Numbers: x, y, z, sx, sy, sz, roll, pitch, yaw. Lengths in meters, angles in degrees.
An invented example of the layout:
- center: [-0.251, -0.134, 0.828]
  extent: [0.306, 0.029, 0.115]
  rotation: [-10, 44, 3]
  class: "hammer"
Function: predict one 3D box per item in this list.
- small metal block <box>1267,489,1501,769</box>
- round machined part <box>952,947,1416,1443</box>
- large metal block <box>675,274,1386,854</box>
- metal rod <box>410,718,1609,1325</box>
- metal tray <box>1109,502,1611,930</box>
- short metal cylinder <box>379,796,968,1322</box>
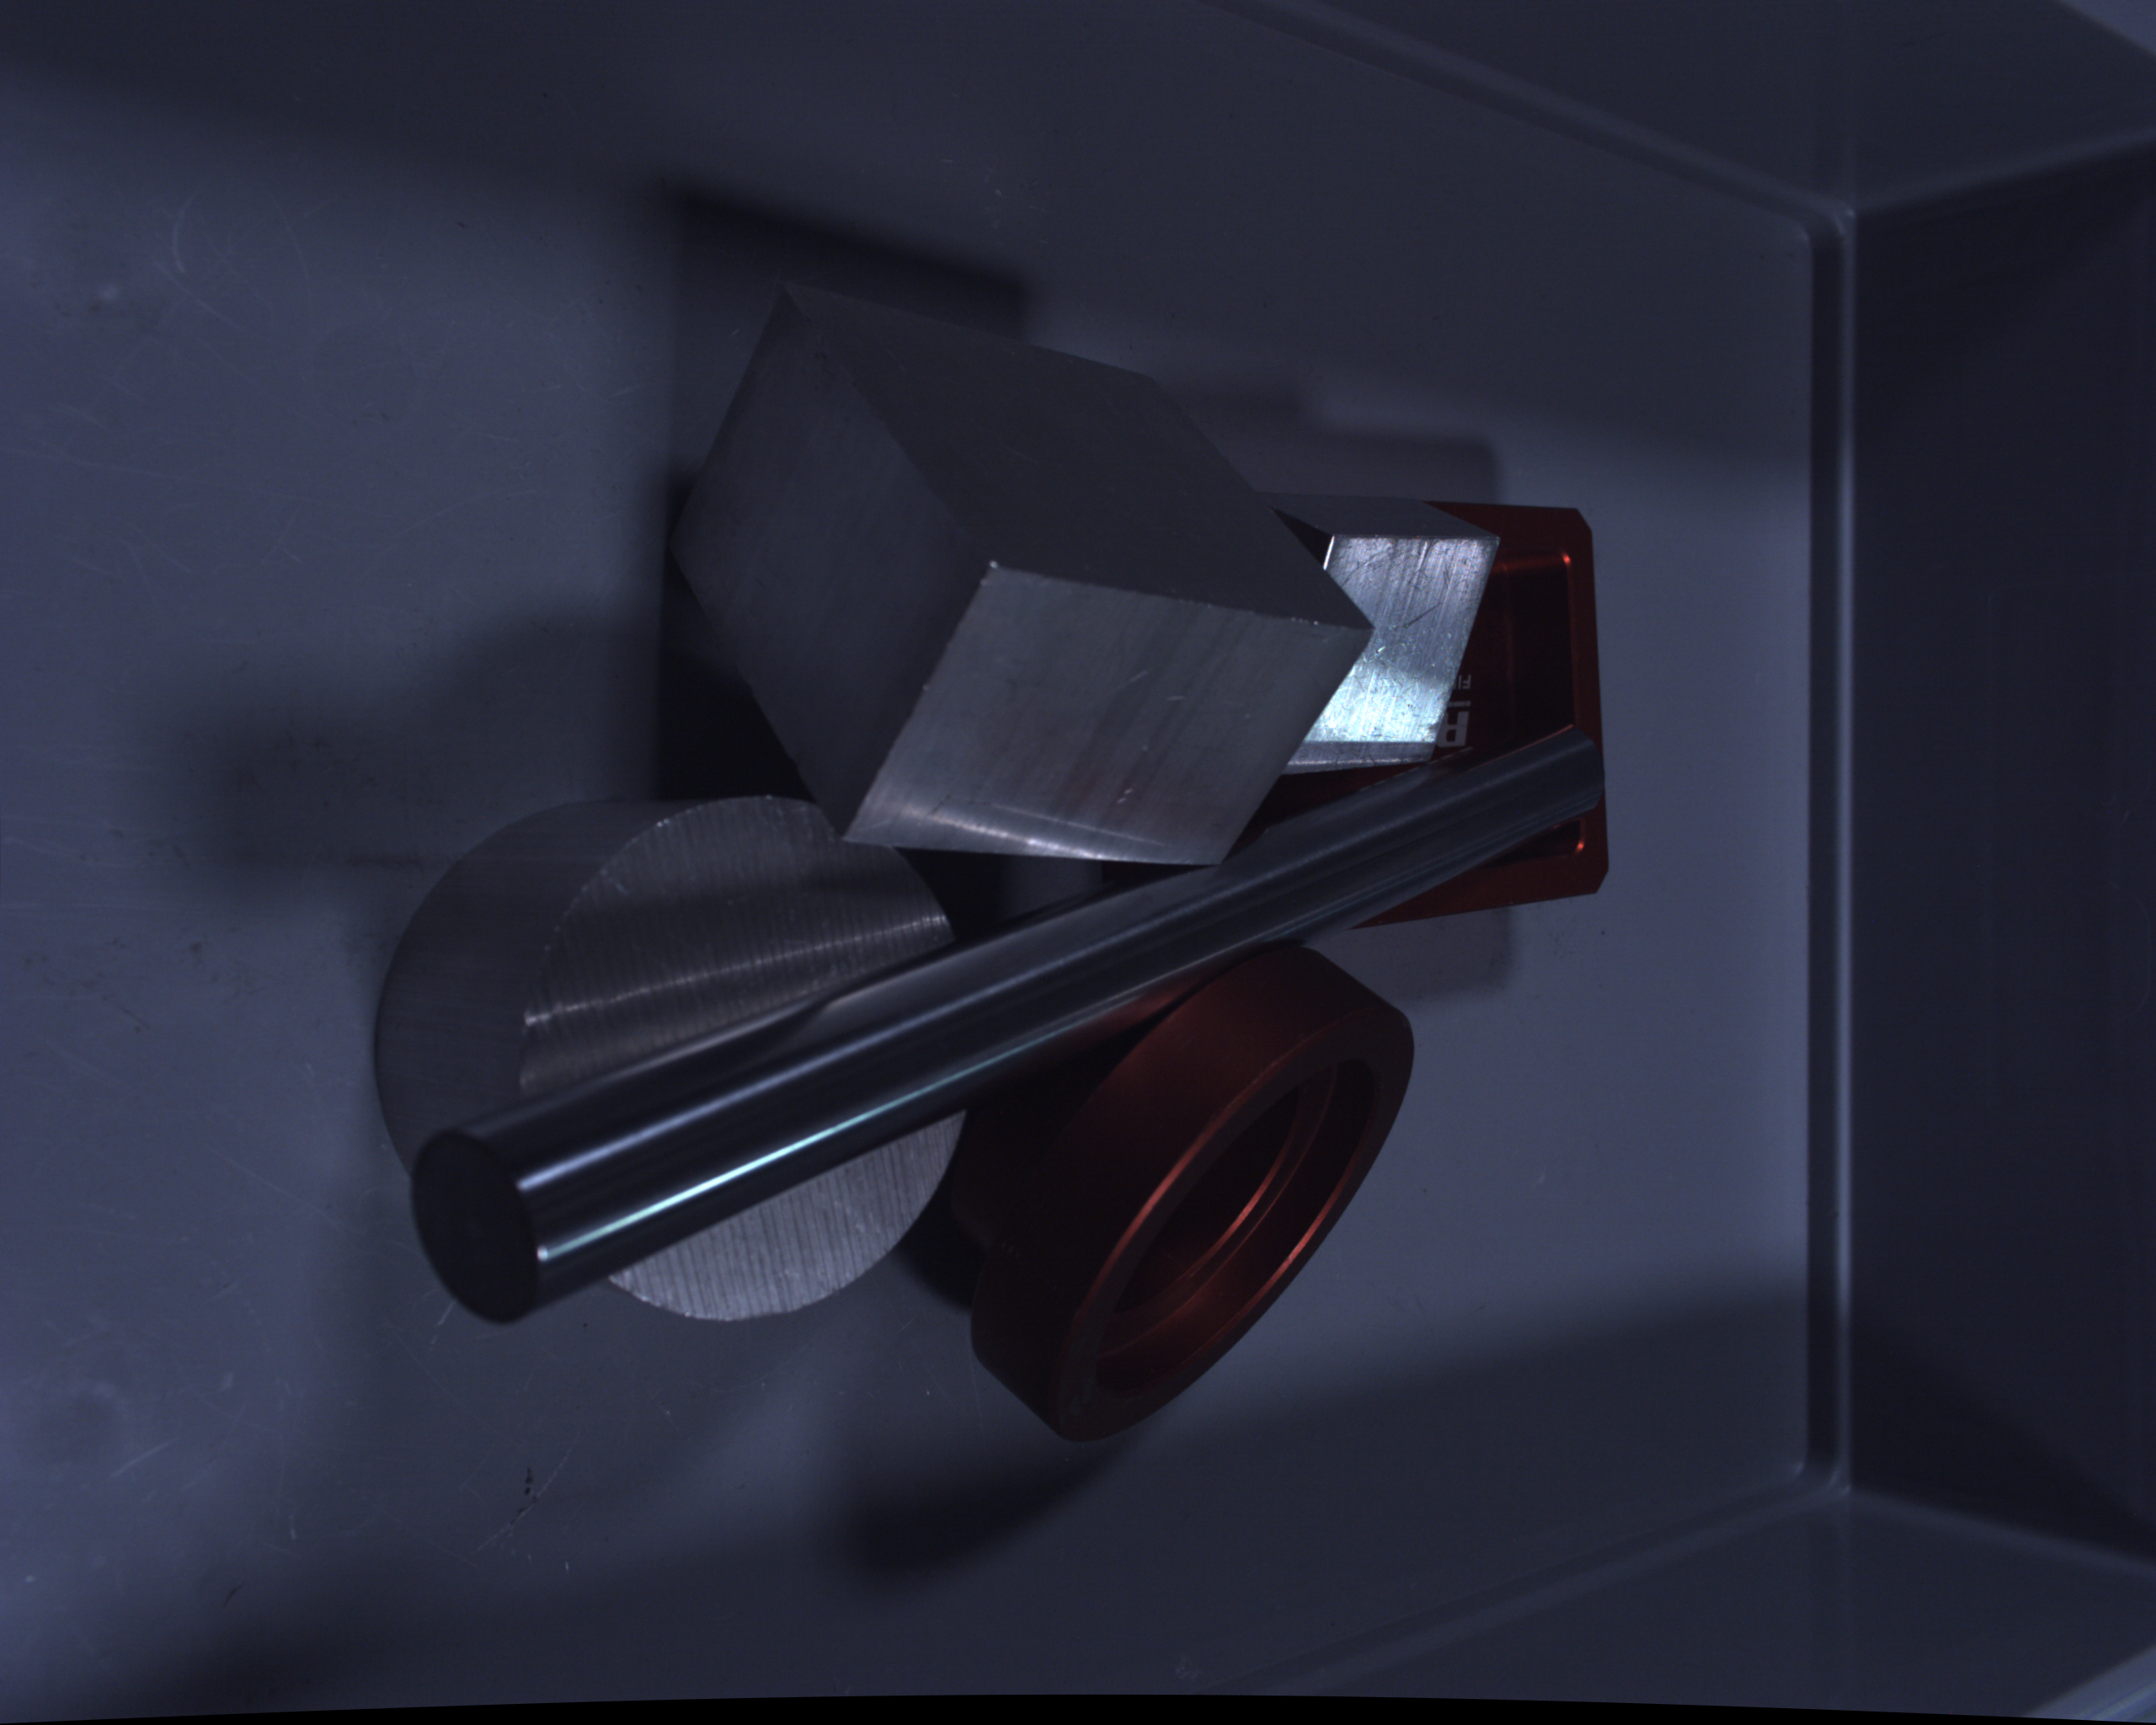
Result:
- center: [0.053, -0.048, 0.423]
  extent: [0.050, 0.025, 0.050]
  rotation: [-6, 120, -40]
  class: "small metal block"
- center: [0.015, 0.056, 0.388]
  extent: [0.099, 0.042, 0.097]
  rotation: [-38, 149, -27]
  class: "round machined part"
- center: [-0.010, -0.049, 0.352]
  extent: [0.081, 0.080, 0.050]
  rotation: [4, 130, -39]
  class: "large metal block"
- center: [0.019, 0.012, 0.369]
  extent: [0.302, 0.025, 0.025]
  rotation: [-20, 103, -49]
  class: "metal rod"
- center: [0.064, -0.033, 0.456]
  extent: [0.131, 0.030, 0.089]
  rotation: [-6, 94, -40]
  class: "metal tray"
- center: [-0.063, 0.030, 0.336]
  extent: [0.081, 0.050, 0.079]
  rotation: [0, 90, -40]
  class: "short metal cylinder"
